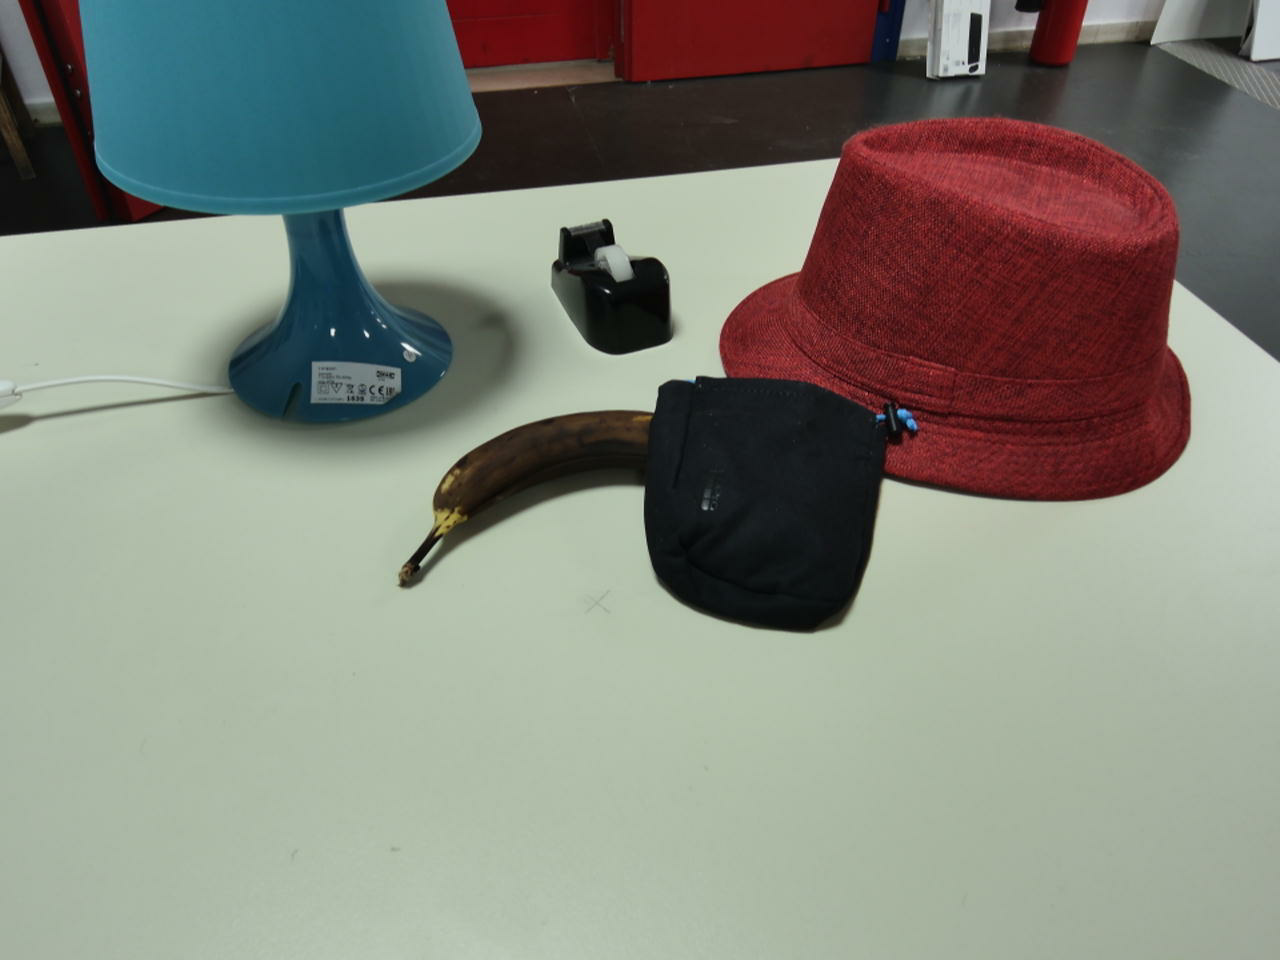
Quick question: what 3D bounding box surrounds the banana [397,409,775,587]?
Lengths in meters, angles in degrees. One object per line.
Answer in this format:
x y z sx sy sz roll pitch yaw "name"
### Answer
-0.030 -0.003 0.511 0.188 0.034 0.091 -8 40 -9 "banana"
